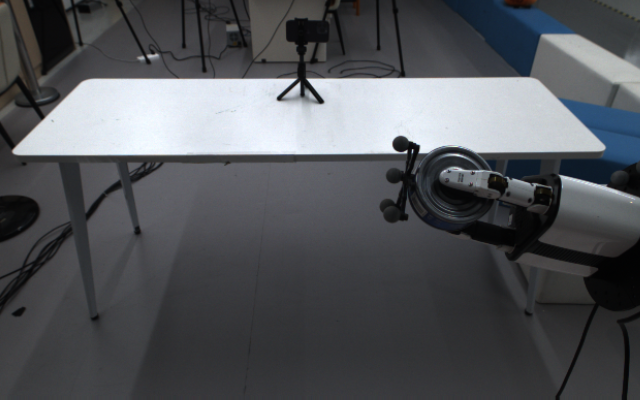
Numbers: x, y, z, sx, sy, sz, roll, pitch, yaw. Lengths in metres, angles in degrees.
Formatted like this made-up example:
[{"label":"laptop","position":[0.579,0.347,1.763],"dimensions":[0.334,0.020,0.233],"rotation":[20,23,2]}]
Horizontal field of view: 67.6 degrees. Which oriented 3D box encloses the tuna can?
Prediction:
[{"label":"tuna can","position":[0.141,-0.014,0.511],"dimensions":[0.085,0.034,0.085],"rotation":[2,73,-6]}]
